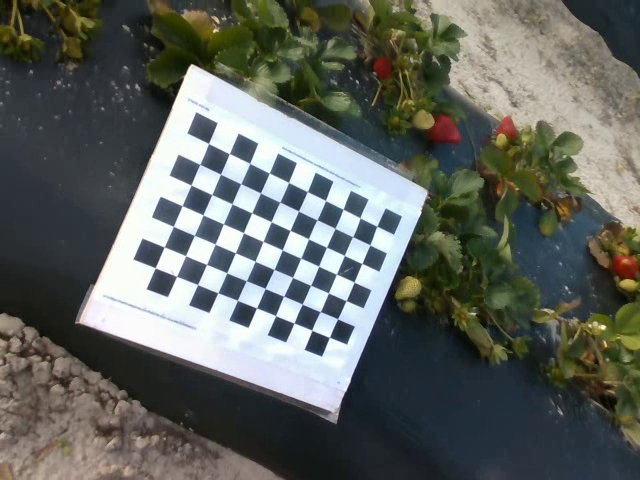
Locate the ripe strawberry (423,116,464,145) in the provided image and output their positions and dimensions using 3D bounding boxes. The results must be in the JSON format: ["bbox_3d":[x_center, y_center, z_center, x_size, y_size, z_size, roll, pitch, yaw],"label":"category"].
[{"bbox_3d":[0.204,-0.175,1.038,0.051,0.048,0.055,-34,51,-13],"label":"ripe strawberry"}]
